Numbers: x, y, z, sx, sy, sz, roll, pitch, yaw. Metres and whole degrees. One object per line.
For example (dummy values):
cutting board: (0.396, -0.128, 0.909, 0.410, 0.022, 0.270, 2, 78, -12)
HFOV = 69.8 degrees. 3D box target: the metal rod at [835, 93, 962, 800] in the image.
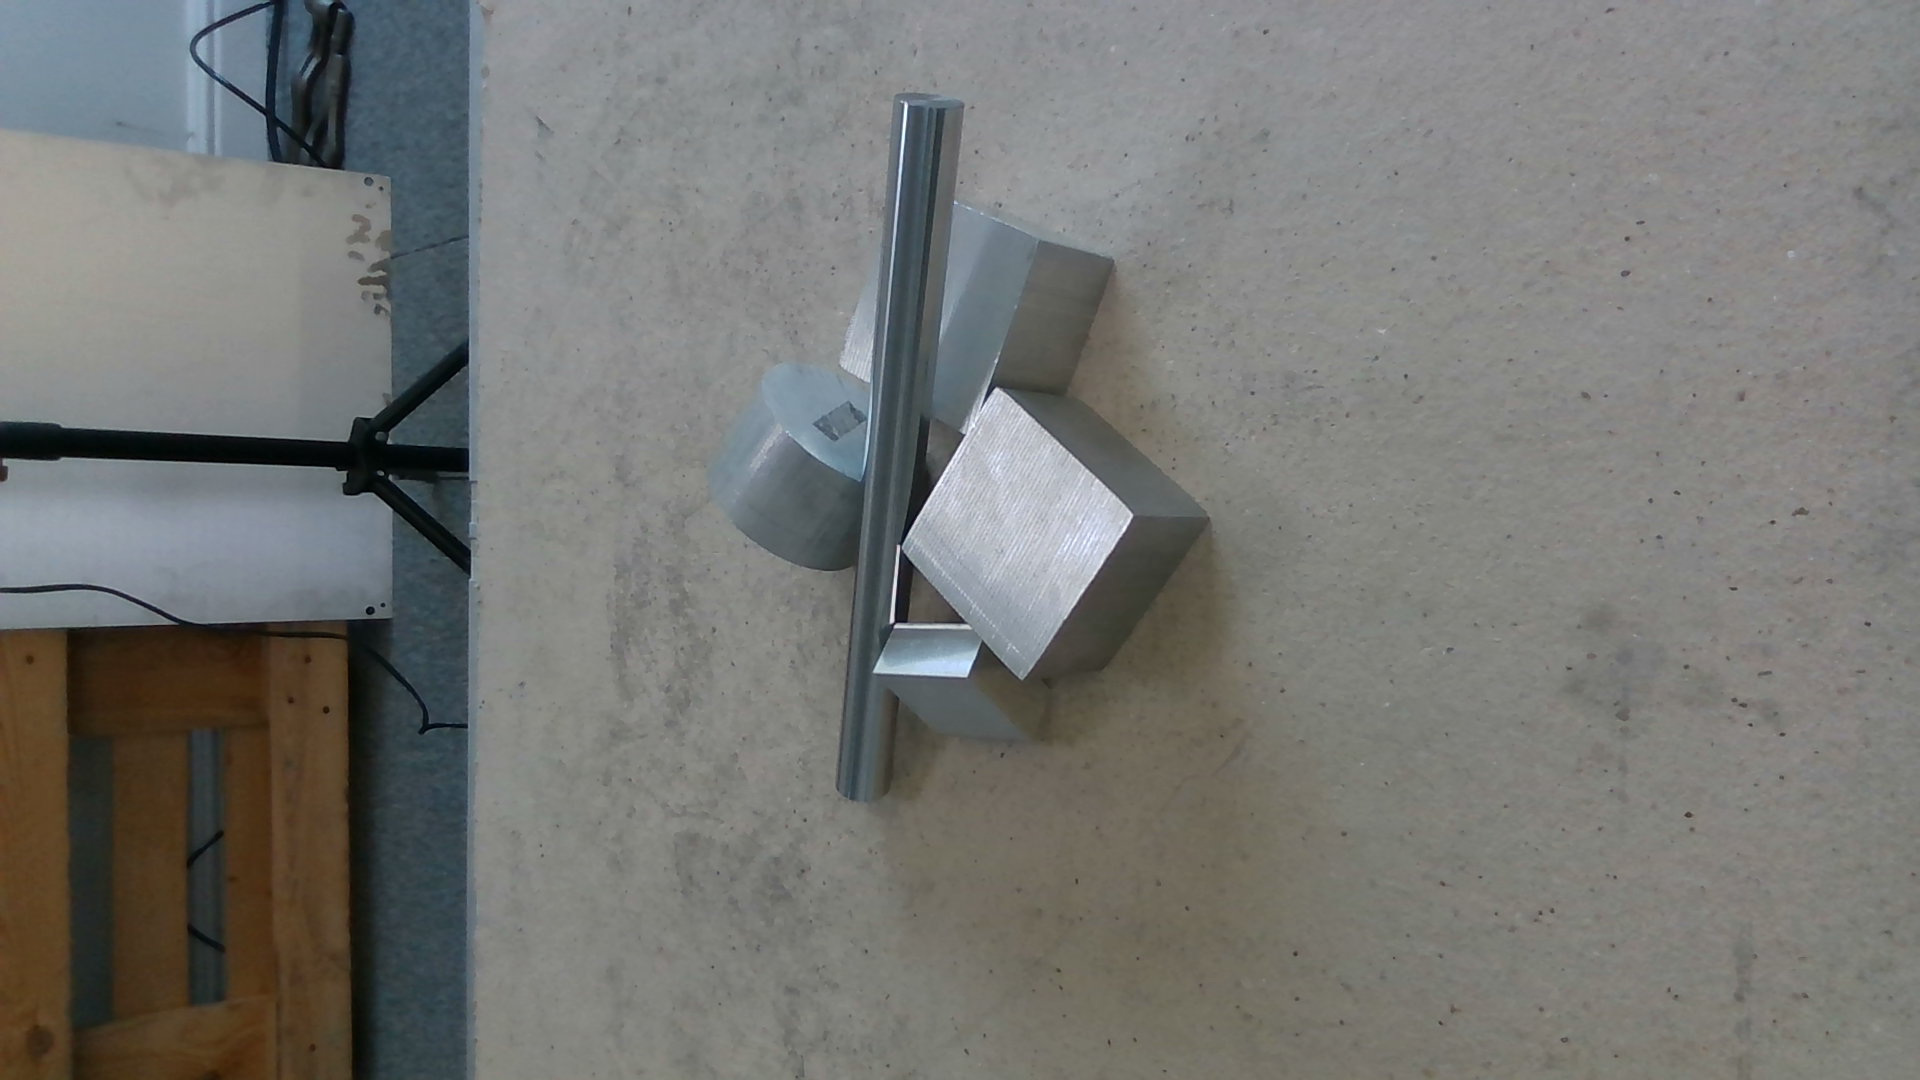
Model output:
metal rod: (-0.028, -0.022, 0.552, 0.025, 0.025, 0.301, 30, 125, 36)

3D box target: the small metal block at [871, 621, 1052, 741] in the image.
small metal block: (0.001, 0.057, 0.563, 0.050, 0.050, 0.025, -3, 53, 40)

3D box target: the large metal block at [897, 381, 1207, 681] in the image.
large metal block: (0.034, -0.004, 0.535, 0.080, 0.050, 0.080, 47, 118, 30)

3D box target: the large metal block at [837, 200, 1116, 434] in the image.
large metal block: (0.005, -0.093, 0.561, 0.080, 0.050, 0.080, 31, 110, 36)

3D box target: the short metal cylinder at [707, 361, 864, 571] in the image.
short metal cylinder: (-0.064, -0.033, 0.599, 0.050, 0.080, 0.080, -52, 60, 28)
